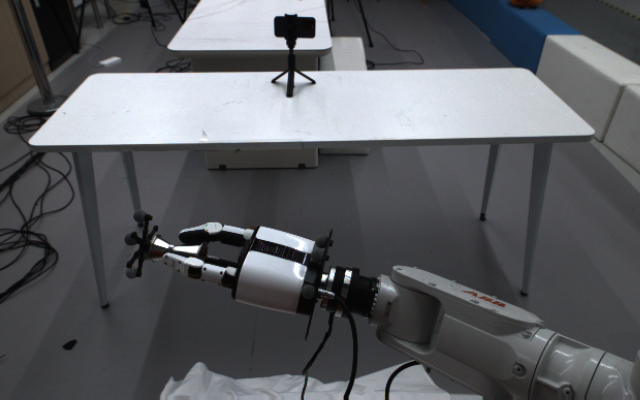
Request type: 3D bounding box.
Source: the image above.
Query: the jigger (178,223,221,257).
[{"bbox_3d":[-0.189,0.071,0.673,0.071,0.043,0.043,10,35,2],"label":"jigger"}]
